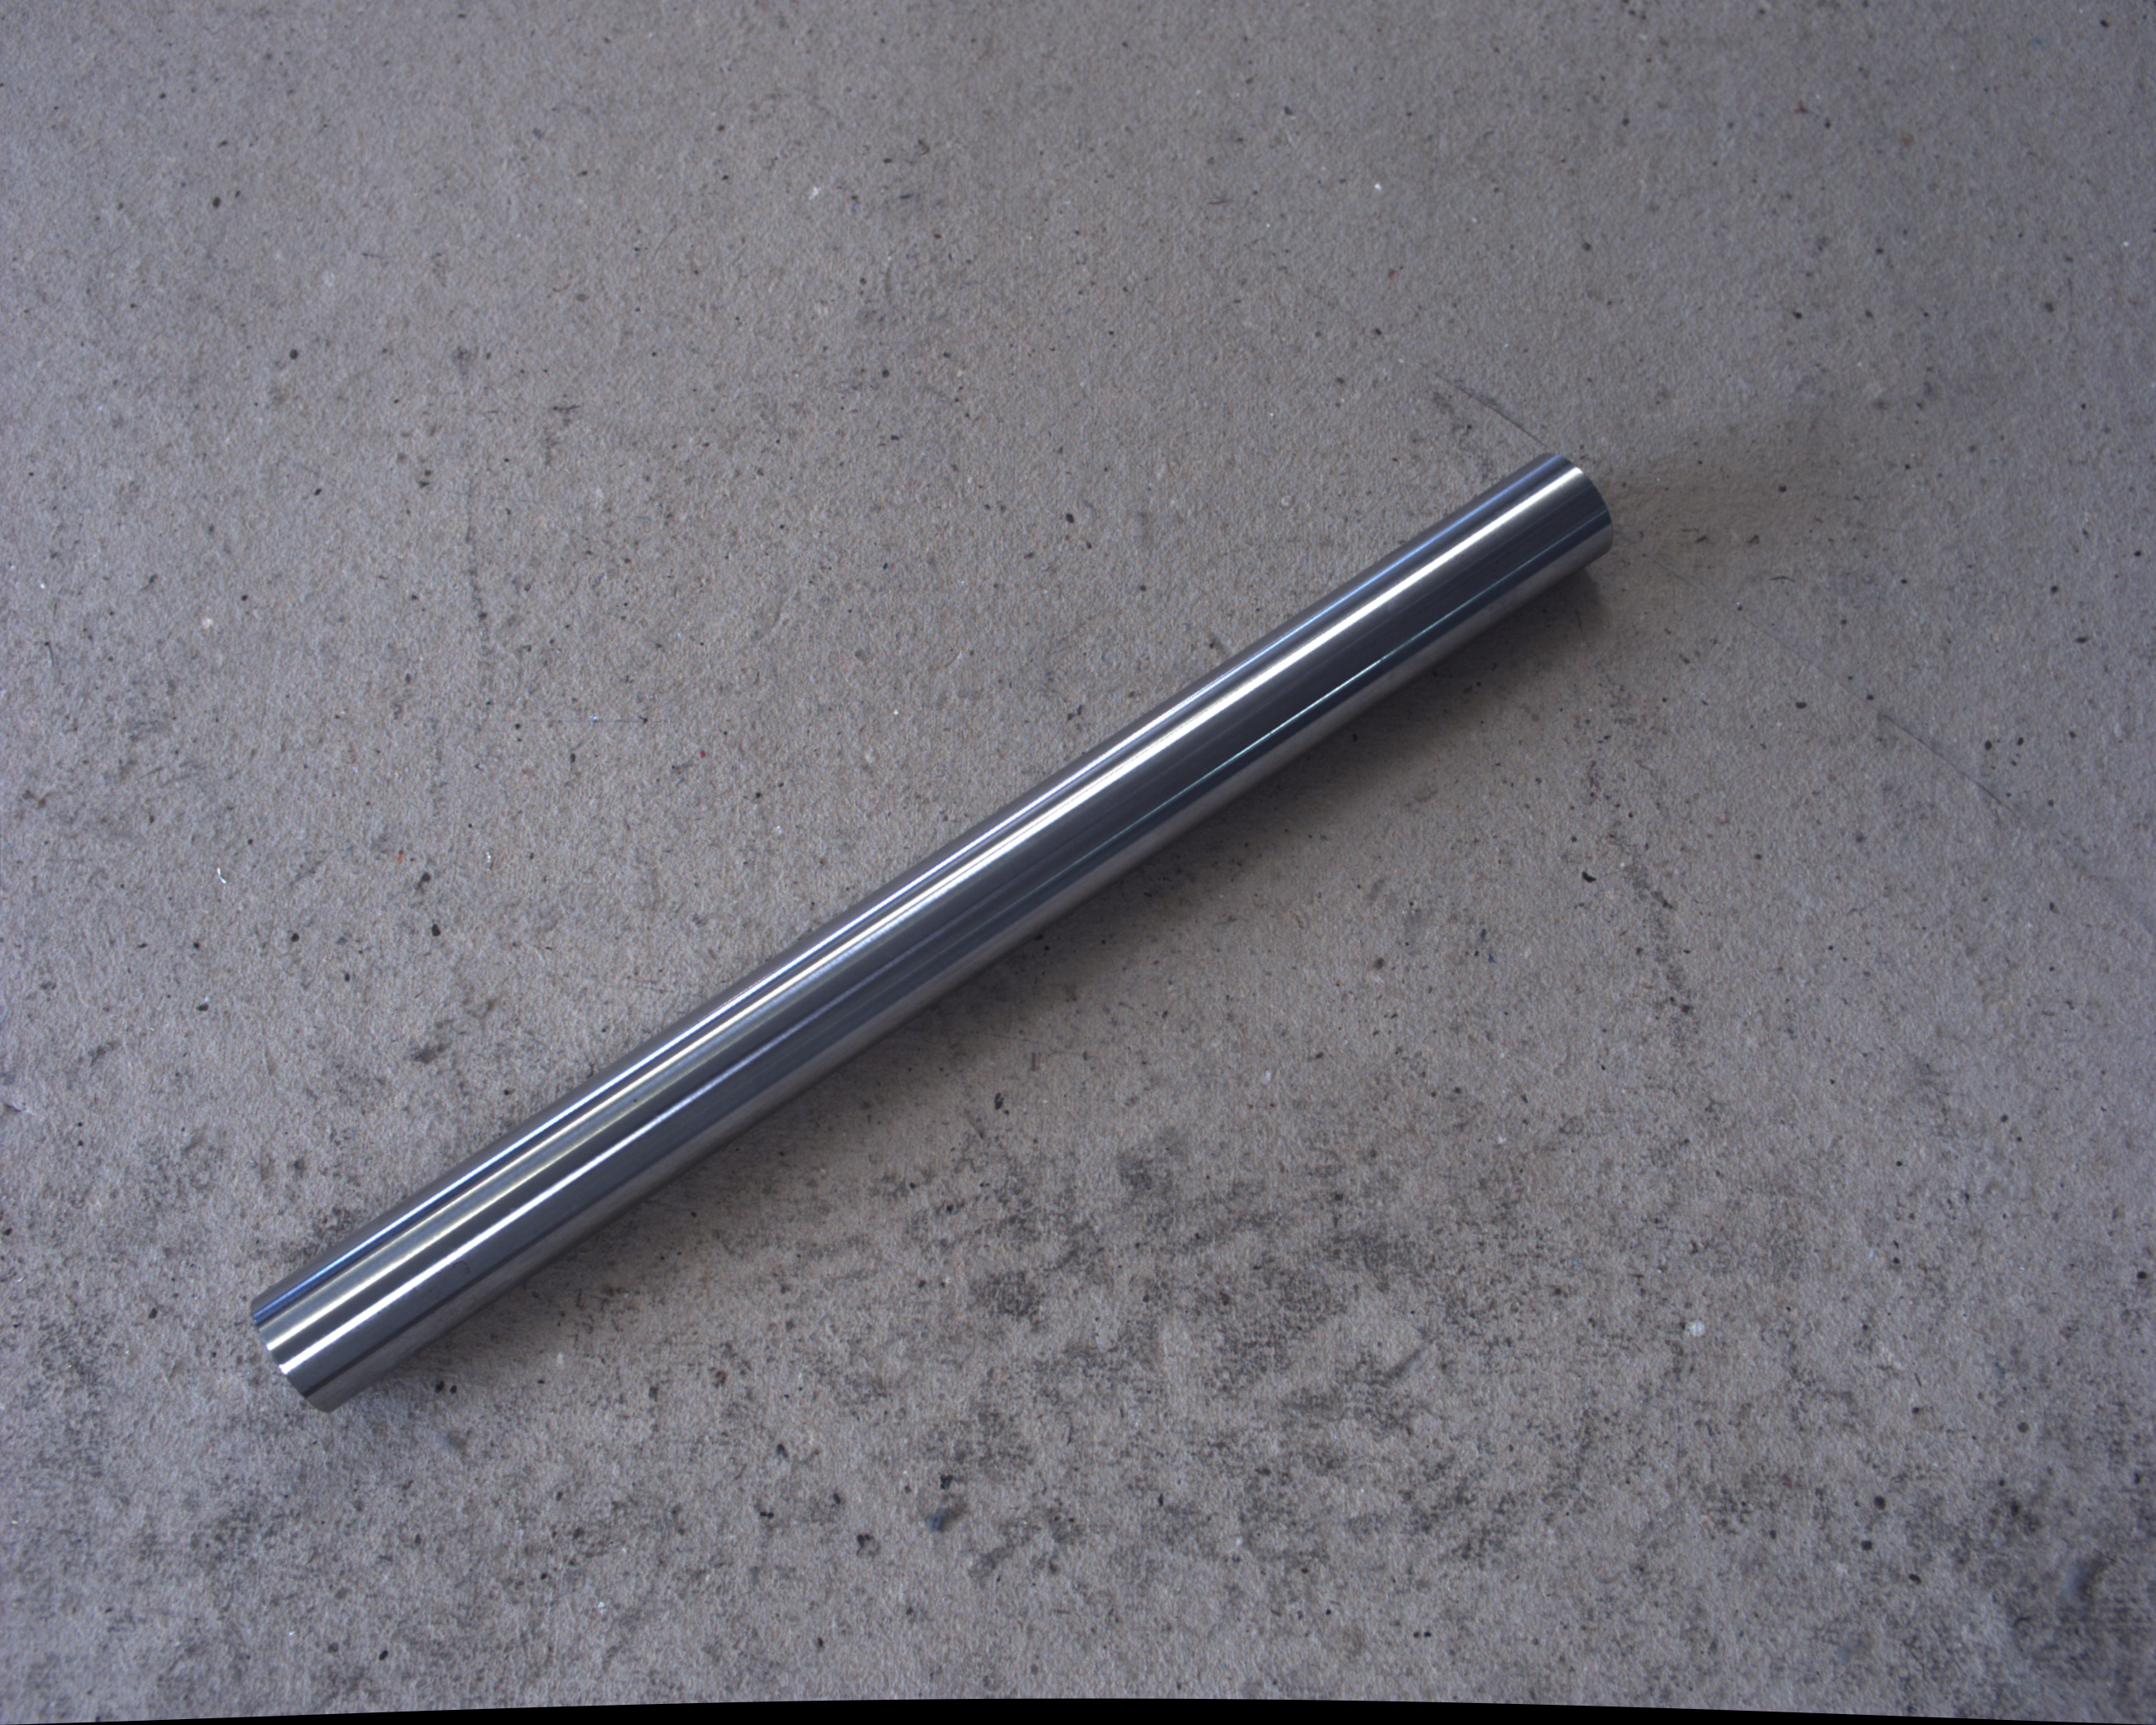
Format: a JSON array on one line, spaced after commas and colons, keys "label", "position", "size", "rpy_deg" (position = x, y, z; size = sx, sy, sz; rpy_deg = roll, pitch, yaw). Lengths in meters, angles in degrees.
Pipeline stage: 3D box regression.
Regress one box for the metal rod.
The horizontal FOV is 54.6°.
[{"label": "metal rod", "position": [-0.019, 0.007, 0.407], "size": [0.301, 0.025, 0.025], "rpy_deg": [-34, 74, -12]}]
